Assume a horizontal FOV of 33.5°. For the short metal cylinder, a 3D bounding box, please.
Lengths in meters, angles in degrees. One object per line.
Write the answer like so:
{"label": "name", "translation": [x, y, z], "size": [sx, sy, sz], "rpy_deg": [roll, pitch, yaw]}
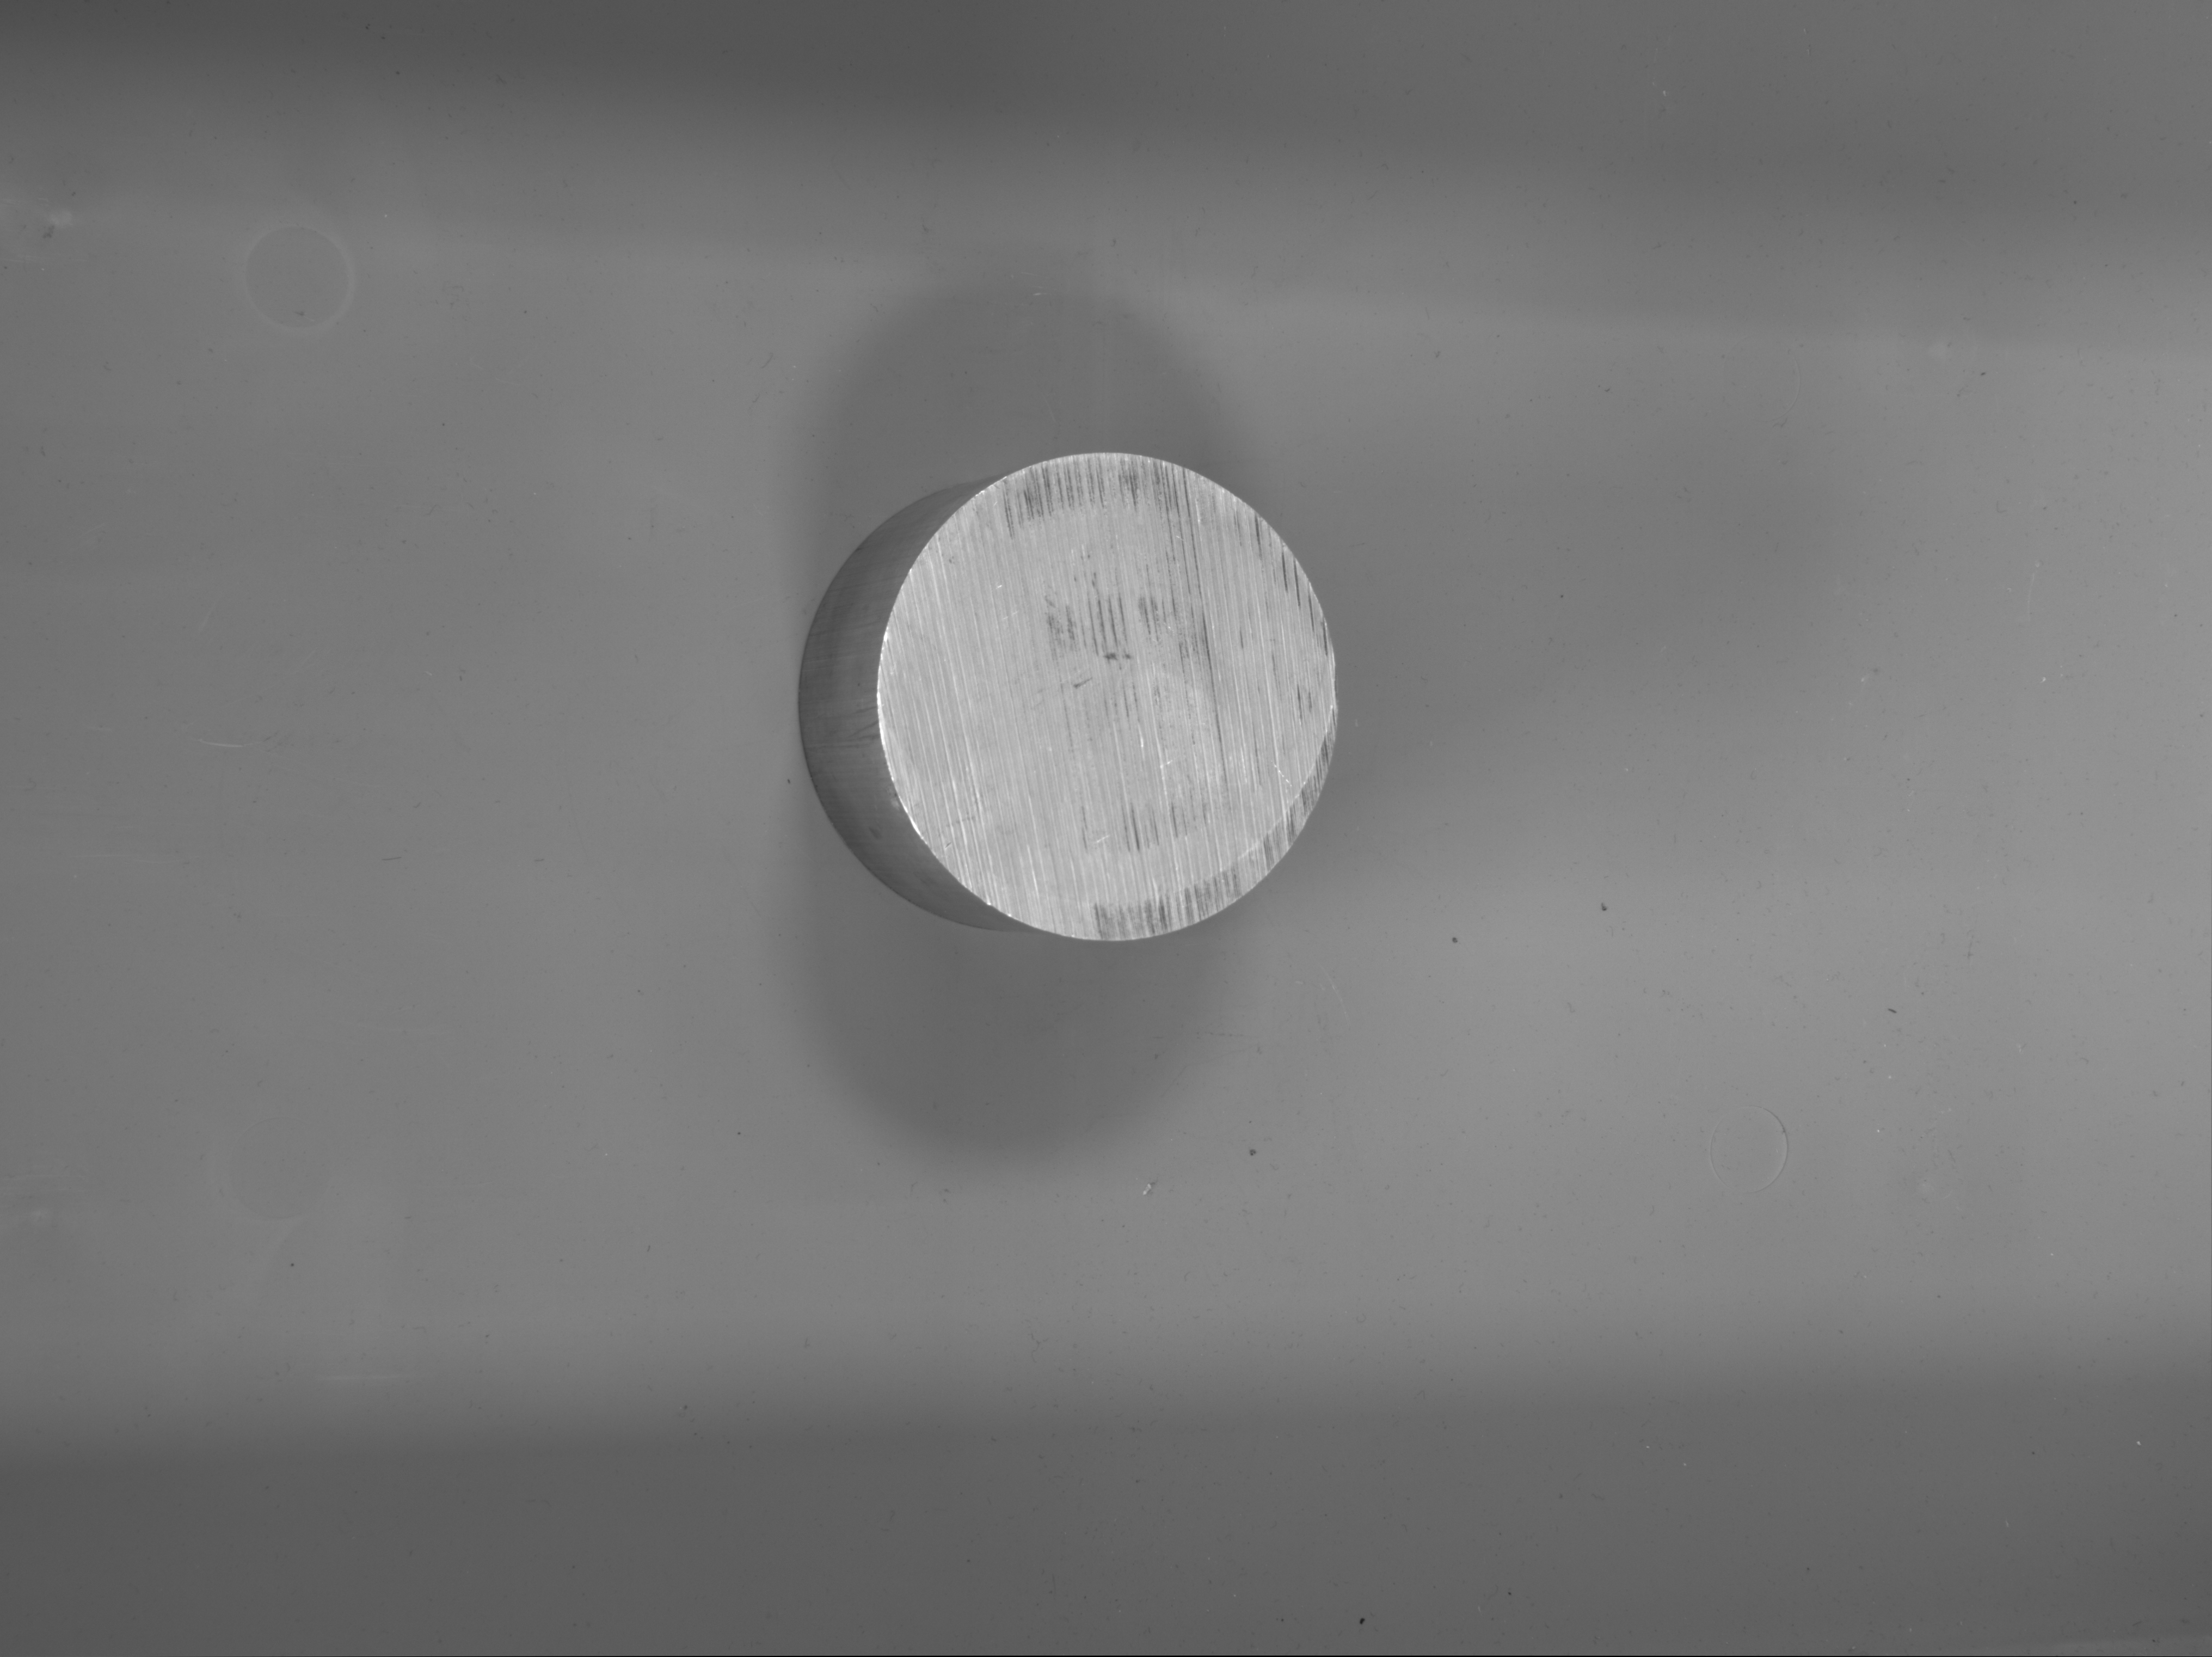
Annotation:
{"label": "short metal cylinder", "translation": [-0.008, -0.021, 0.626], "size": [0.080, 0.050, 0.080], "rpy_deg": [0, 90, -20]}
